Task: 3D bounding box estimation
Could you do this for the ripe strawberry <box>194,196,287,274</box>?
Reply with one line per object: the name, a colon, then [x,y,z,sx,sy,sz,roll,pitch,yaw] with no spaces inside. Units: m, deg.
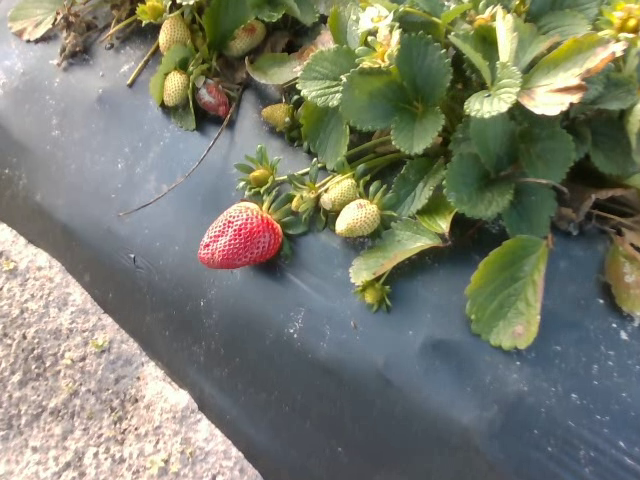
ripe strawberry: [-0.064,-0.001,0.475,0.052,0.067,0.045,37,-31,18]
